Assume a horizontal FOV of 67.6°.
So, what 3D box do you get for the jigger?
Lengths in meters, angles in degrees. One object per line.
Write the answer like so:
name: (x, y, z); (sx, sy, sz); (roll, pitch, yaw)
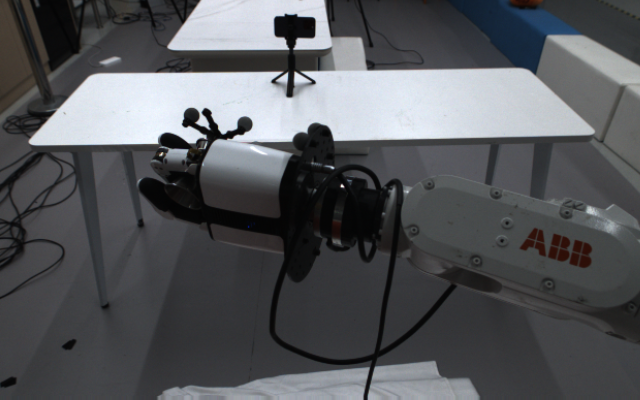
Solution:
jigger: (-0.128, -0.029, 0.522); (0.043, 0.043, 0.071); (13, 58, 15)
